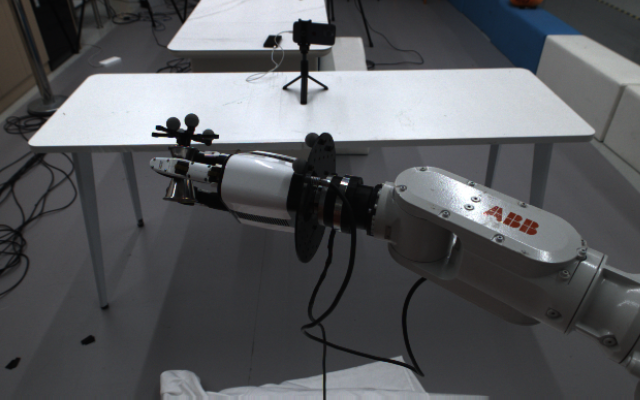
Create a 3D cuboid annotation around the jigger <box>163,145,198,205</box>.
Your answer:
[{"bbox_3d":[-0.180,-0.033,0.627,0.043,0.071,0.043,2,-6,0],"label":"jigger"}]
